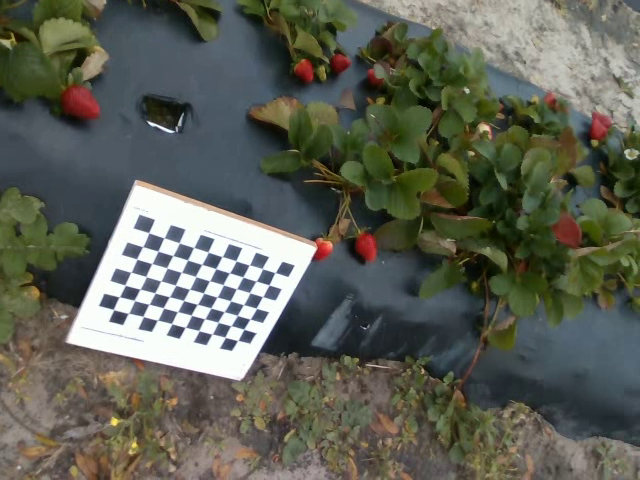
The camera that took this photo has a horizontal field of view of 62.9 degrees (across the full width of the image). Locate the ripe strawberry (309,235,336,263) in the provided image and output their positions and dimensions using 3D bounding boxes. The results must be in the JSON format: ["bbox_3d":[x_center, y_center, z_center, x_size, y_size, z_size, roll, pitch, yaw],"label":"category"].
[{"bbox_3d":[-0.002,0.022,0.833,0.036,0.041,0.027,23,4,-13],"label":"ripe strawberry"}]

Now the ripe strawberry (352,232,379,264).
[{"bbox_3d":[0.073,0.017,0.862,0.044,0.059,0.042,-18,9,10],"label":"ripe strawberry"}]

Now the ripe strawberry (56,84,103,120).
[{"bbox_3d":[-0.342,-0.185,0.704,0.064,0.046,0.048,39,25,6],"label":"ripe strawberry"}]
